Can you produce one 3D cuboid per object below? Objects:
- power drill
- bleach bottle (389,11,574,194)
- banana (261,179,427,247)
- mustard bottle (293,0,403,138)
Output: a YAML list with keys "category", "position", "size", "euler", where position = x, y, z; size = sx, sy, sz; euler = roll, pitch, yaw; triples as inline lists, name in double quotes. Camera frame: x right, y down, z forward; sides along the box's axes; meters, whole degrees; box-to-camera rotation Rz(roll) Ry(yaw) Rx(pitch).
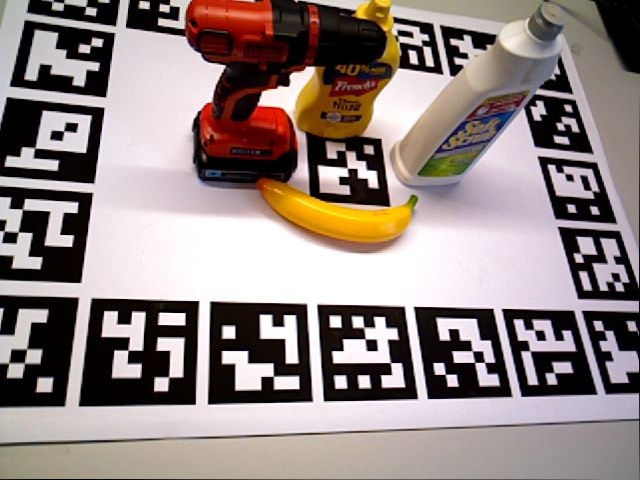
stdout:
- category: "power drill"
  position: [-0.051, -0.153, 0.534]
  size: [0.182, 0.191, 0.057]
  euler: [2, 57, -19]
- category: "bleach bottle"
  position: [0.171, -0.140, 0.592]
  size: [0.101, 0.256, 0.067]
  euler: [-4, 67, -19]
- category: "banana"
  position: [0.030, -0.031, 0.610]
  size: [0.195, 0.039, 0.073]
  euler: [6, 68, -12]
- category: "mustard bottle"
  position: [0.038, -0.192, 0.601]
  size: [0.095, 0.196, 0.058]
  euler: [5, 63, -16]
